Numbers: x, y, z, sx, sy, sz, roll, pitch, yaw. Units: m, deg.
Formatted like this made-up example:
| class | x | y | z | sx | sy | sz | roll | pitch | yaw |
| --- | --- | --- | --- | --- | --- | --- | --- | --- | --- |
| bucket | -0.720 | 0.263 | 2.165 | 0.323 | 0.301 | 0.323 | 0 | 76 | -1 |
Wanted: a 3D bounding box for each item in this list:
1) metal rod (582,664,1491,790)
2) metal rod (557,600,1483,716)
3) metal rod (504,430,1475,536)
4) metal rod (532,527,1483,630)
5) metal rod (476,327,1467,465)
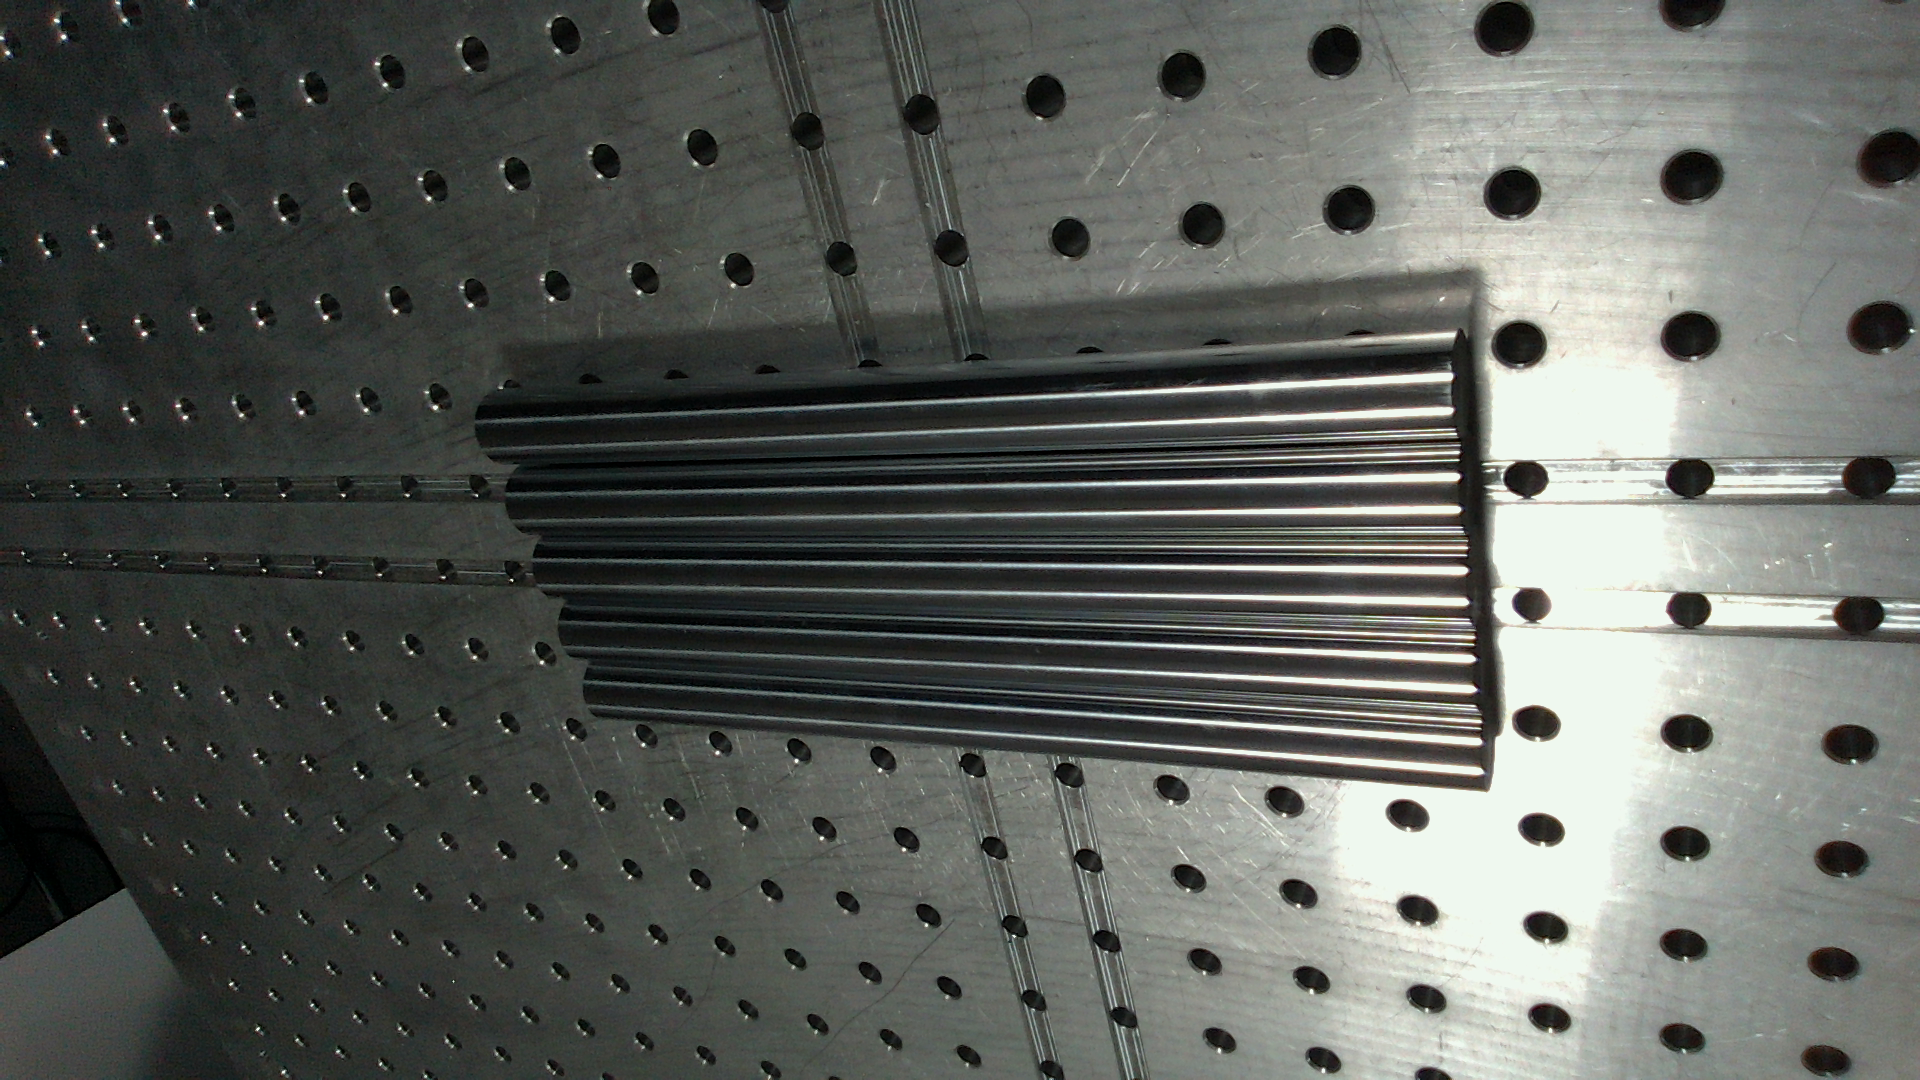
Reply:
| class | x | y | z | sx | sy | sz | roll | pitch | yaw |
| --- | --- | --- | --- | --- | --- | --- | --- | --- | --- |
| metal rod | 0.004 | 0.052 | 0.425 | 0.299 | 0.025 | 0.025 | 0 | 119 | 28 |
| metal rod | -0.001 | 0.031 | 0.415 | 0.299 | 0.025 | 0.025 | 0 | 119 | 28 |
| metal rod | -0.013 | -0.014 | 0.394 | 0.299 | 0.025 | 0.025 | 0 | 119 | 28 |
| metal rod | -0.006 | 0.009 | 0.404 | 0.299 | 0.025 | 0.025 | 0 | 119 | 28 |
| metal rod | -0.018 | -0.036 | 0.383 | 0.299 | 0.025 | 0.025 | 0 | 119 | 28 |
